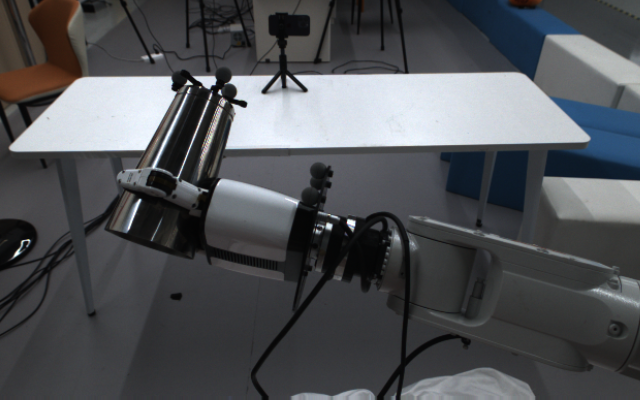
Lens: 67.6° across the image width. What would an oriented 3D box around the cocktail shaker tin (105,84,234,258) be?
[{"bbox_3d":[-0.150,-0.032,0.516,0.093,0.093,0.170,13,73,15],"label":"cocktail shaker tin"}]
